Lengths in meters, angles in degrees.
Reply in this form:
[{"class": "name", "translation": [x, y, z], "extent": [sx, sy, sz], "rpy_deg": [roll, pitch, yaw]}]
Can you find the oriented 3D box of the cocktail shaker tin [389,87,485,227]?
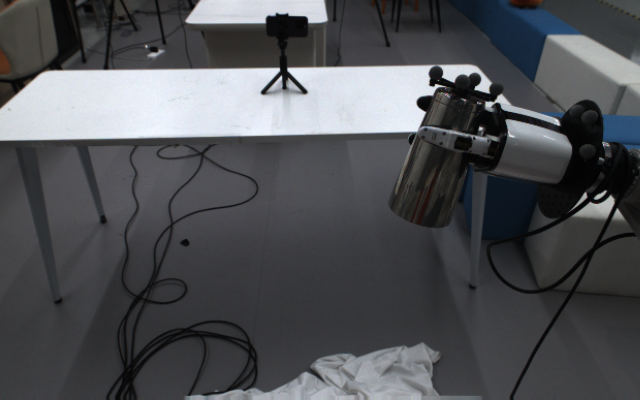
[{"class": "cocktail shaker tin", "translation": [0.163, -0.062, 0.654], "extent": [0.093, 0.170, 0.093], "rpy_deg": [12, 24, -6]}]
